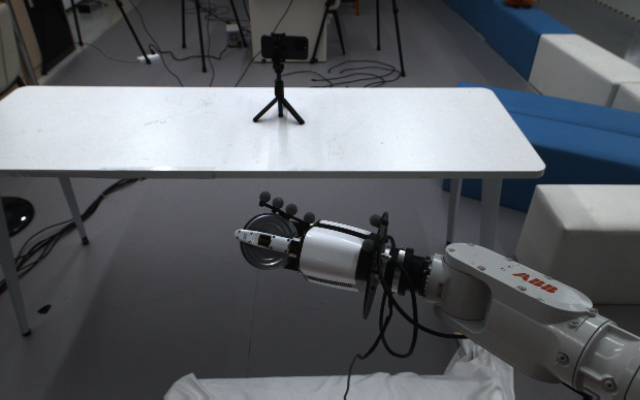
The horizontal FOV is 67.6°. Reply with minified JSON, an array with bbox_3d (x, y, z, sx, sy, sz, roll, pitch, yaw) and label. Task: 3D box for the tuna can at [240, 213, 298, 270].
[{"bbox_3d":[-0.074,0.063,0.736,0.085,0.085,0.034,14,-6,16],"label":"tuna can"}]
